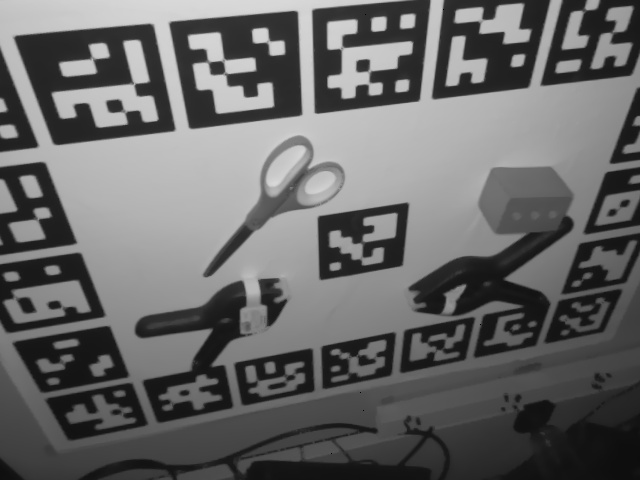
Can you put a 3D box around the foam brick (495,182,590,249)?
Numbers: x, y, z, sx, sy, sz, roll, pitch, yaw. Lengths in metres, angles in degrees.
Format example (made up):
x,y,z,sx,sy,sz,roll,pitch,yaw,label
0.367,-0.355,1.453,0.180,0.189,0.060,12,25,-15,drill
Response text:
x,y,z,sx,sy,sz,roll,pitch,yaw,label
0.242,-0.028,0.760,0.079,0.051,0.052,-5,129,-18,foam brick

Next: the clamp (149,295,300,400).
x,y,z,sx,sy,sz,roll,pitch,yaw,label
-0.094,0.112,0.793,0.164,0.037,0.122,-30,124,9,clamp

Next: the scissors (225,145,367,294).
x,y,z,sx,sy,sz,roll,pitch,yaw,label
-0.037,-0.008,0.712,0.088,0.016,0.200,30,118,-26,scissors

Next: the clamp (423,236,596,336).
x,y,z,sx,sy,sz,roll,pitch,yaw,label
0.227,0.074,0.849,0.204,0.037,0.164,-11,134,-6,clamp
